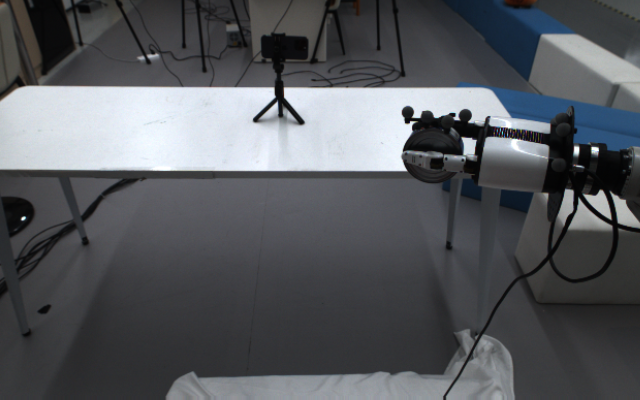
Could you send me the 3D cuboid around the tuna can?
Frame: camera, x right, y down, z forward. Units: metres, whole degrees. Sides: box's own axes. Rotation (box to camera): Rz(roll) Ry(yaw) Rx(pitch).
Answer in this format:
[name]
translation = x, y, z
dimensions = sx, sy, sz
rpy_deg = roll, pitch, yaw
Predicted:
[tuna can]
translation = 0.168, -0.073, 0.710
dimensions = 0.085, 0.085, 0.034
rpy_deg = 13, 30, 16
